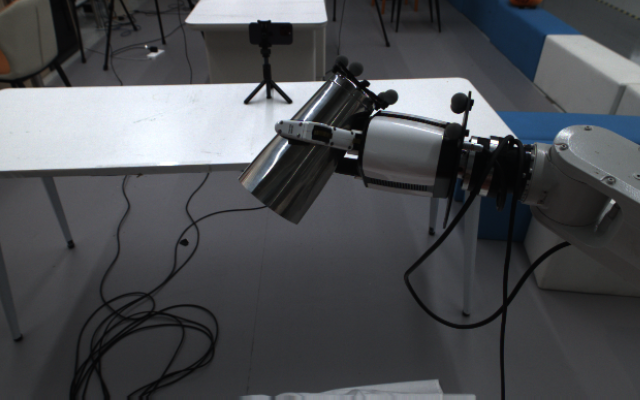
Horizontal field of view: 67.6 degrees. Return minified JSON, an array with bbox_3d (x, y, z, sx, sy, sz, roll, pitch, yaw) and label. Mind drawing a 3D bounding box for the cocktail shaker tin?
[{"bbox_3d":[-0.009,-0.068,0.588,0.170,0.093,0.093,-50,46,4],"label":"cocktail shaker tin"}]
